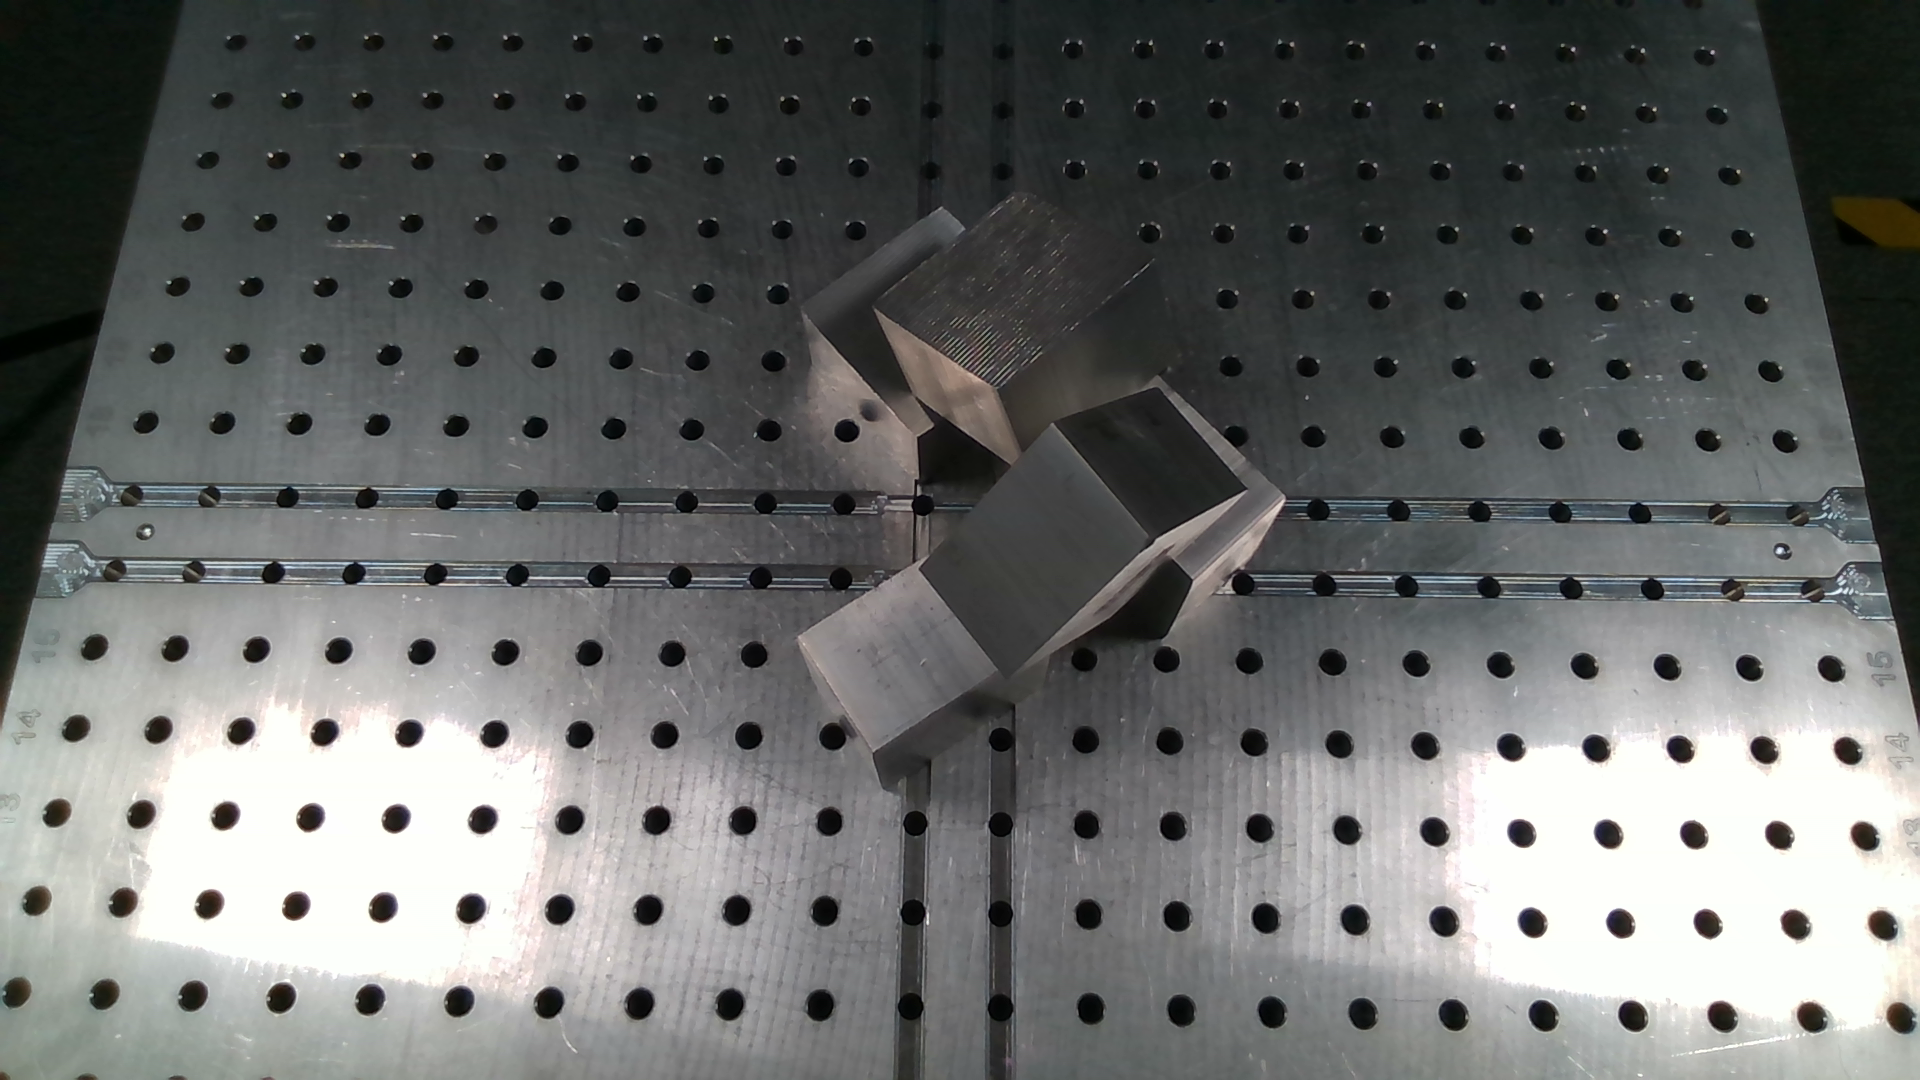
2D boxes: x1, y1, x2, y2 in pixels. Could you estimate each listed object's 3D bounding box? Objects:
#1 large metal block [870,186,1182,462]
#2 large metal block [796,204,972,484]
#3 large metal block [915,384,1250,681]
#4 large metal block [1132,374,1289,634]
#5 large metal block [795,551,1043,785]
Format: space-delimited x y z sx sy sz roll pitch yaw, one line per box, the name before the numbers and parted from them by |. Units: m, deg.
large metal block | 0.026 -0.083 0.537 0.080 0.050 0.080 -41 50 -13
large metal block | -0.013 -0.086 0.607 0.080 0.050 0.080 -38 75 -12
large metal block | 0.044 -0.004 0.488 0.050 0.080 0.080 51 35 11
large metal block | 0.080 -0.016 0.566 0.050 0.080 0.080 -40 75 -13
large metal block | -0.014 0.047 0.543 0.080 0.080 0.050 -32 73 -11
